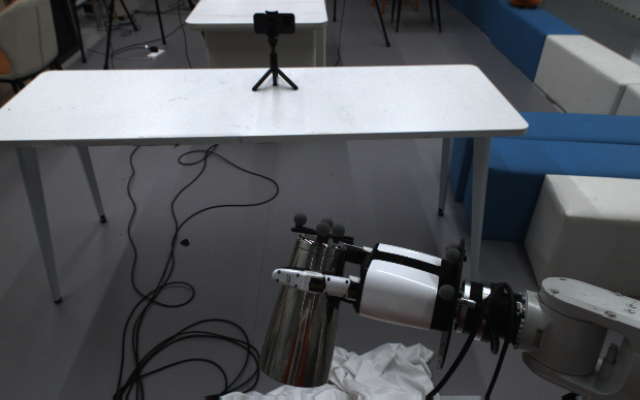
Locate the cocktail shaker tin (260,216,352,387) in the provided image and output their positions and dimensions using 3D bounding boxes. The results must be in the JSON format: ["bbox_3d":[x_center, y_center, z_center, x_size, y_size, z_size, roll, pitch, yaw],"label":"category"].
[{"bbox_3d":[-0.014,0.132,0.615,0.093,0.170,0.093,13,3,-1],"label":"cocktail shaker tin"}]
